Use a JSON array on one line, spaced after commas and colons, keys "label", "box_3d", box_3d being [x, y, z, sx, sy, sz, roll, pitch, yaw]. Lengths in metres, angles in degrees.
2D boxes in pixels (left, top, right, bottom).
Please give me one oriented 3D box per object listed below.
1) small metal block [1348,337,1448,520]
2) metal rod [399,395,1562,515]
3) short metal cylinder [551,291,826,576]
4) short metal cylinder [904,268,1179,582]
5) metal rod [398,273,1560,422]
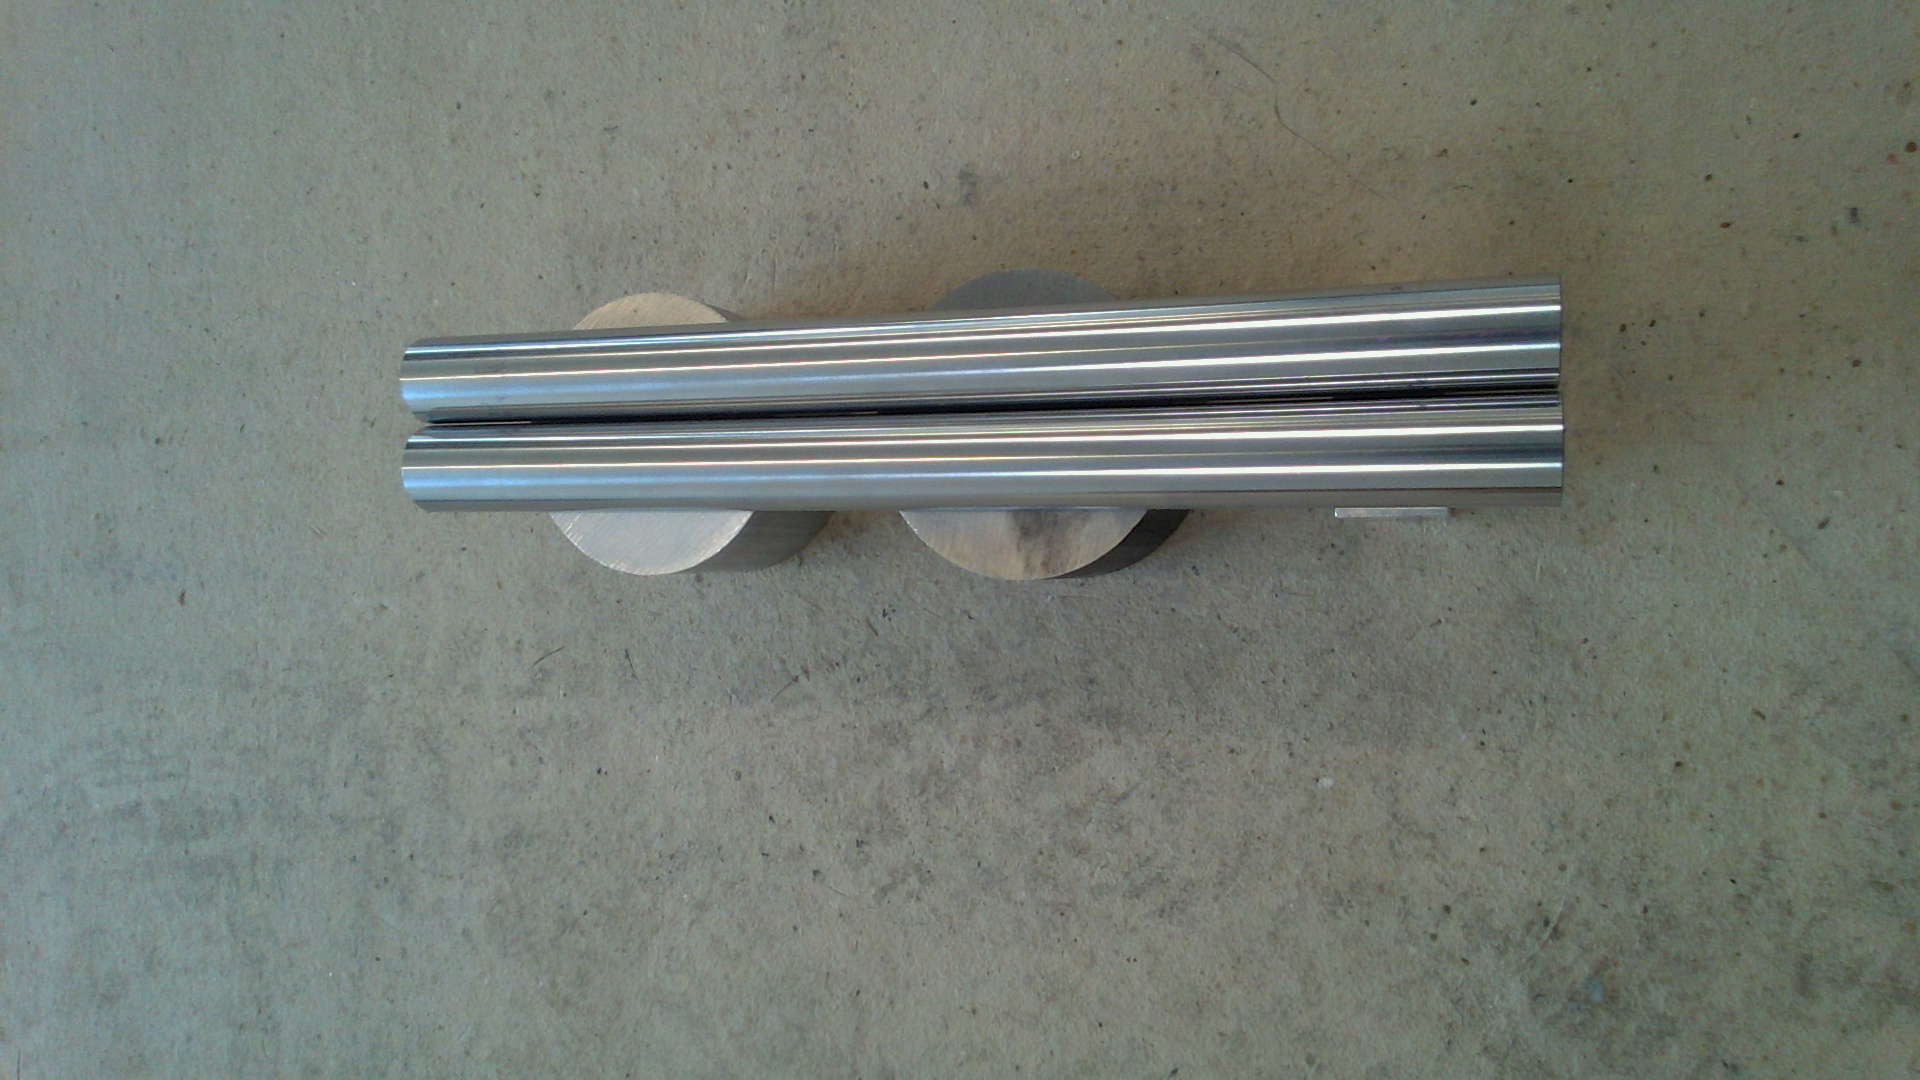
[{"label": "small metal block", "box_3d": [0.109, -0.031, 0.345, 0.025, 0.050, 0.050, -2, 89, 20]}, {"label": "metal rod", "box_3d": [-0.012, -0.019, 0.346, 0.299, 0.025, 0.025, 0, 90, 20]}, {"label": "short metal cylinder", "box_3d": [-0.080, -0.030, 0.411, 0.080, 0.050, 0.080, 0, 90, 20]}, {"label": "short metal cylinder", "box_3d": [0.024, -0.029, 0.375, 0.080, 0.050, 0.080, 0, 90, 20]}, {"label": "metal rod", "box_3d": [-0.012, -0.045, 0.346, 0.299, 0.025, 0.025, 0, 90, 20]}]
